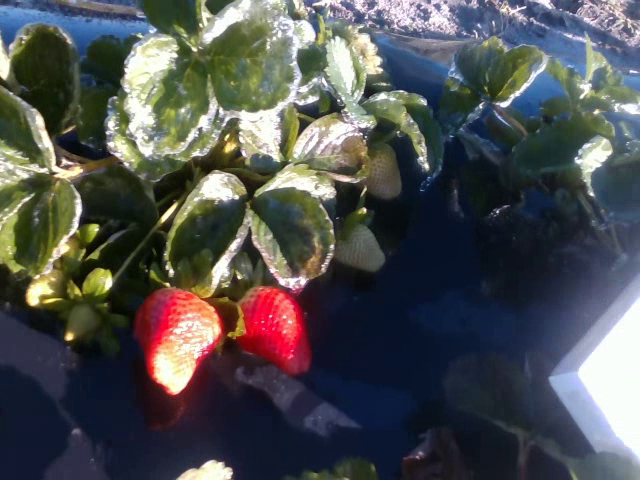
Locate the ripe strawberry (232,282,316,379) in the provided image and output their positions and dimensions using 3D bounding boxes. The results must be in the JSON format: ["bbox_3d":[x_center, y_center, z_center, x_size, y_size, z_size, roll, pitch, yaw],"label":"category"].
[{"bbox_3d":[-0.024,0.051,0.341,0.043,0.059,0.040,-33,-7,-28],"label":"ripe strawberry"}]

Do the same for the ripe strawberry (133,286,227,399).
[{"bbox_3d":[-0.076,0.058,0.328,0.052,0.070,0.040,19,-31,-24],"label":"ripe strawberry"}]
